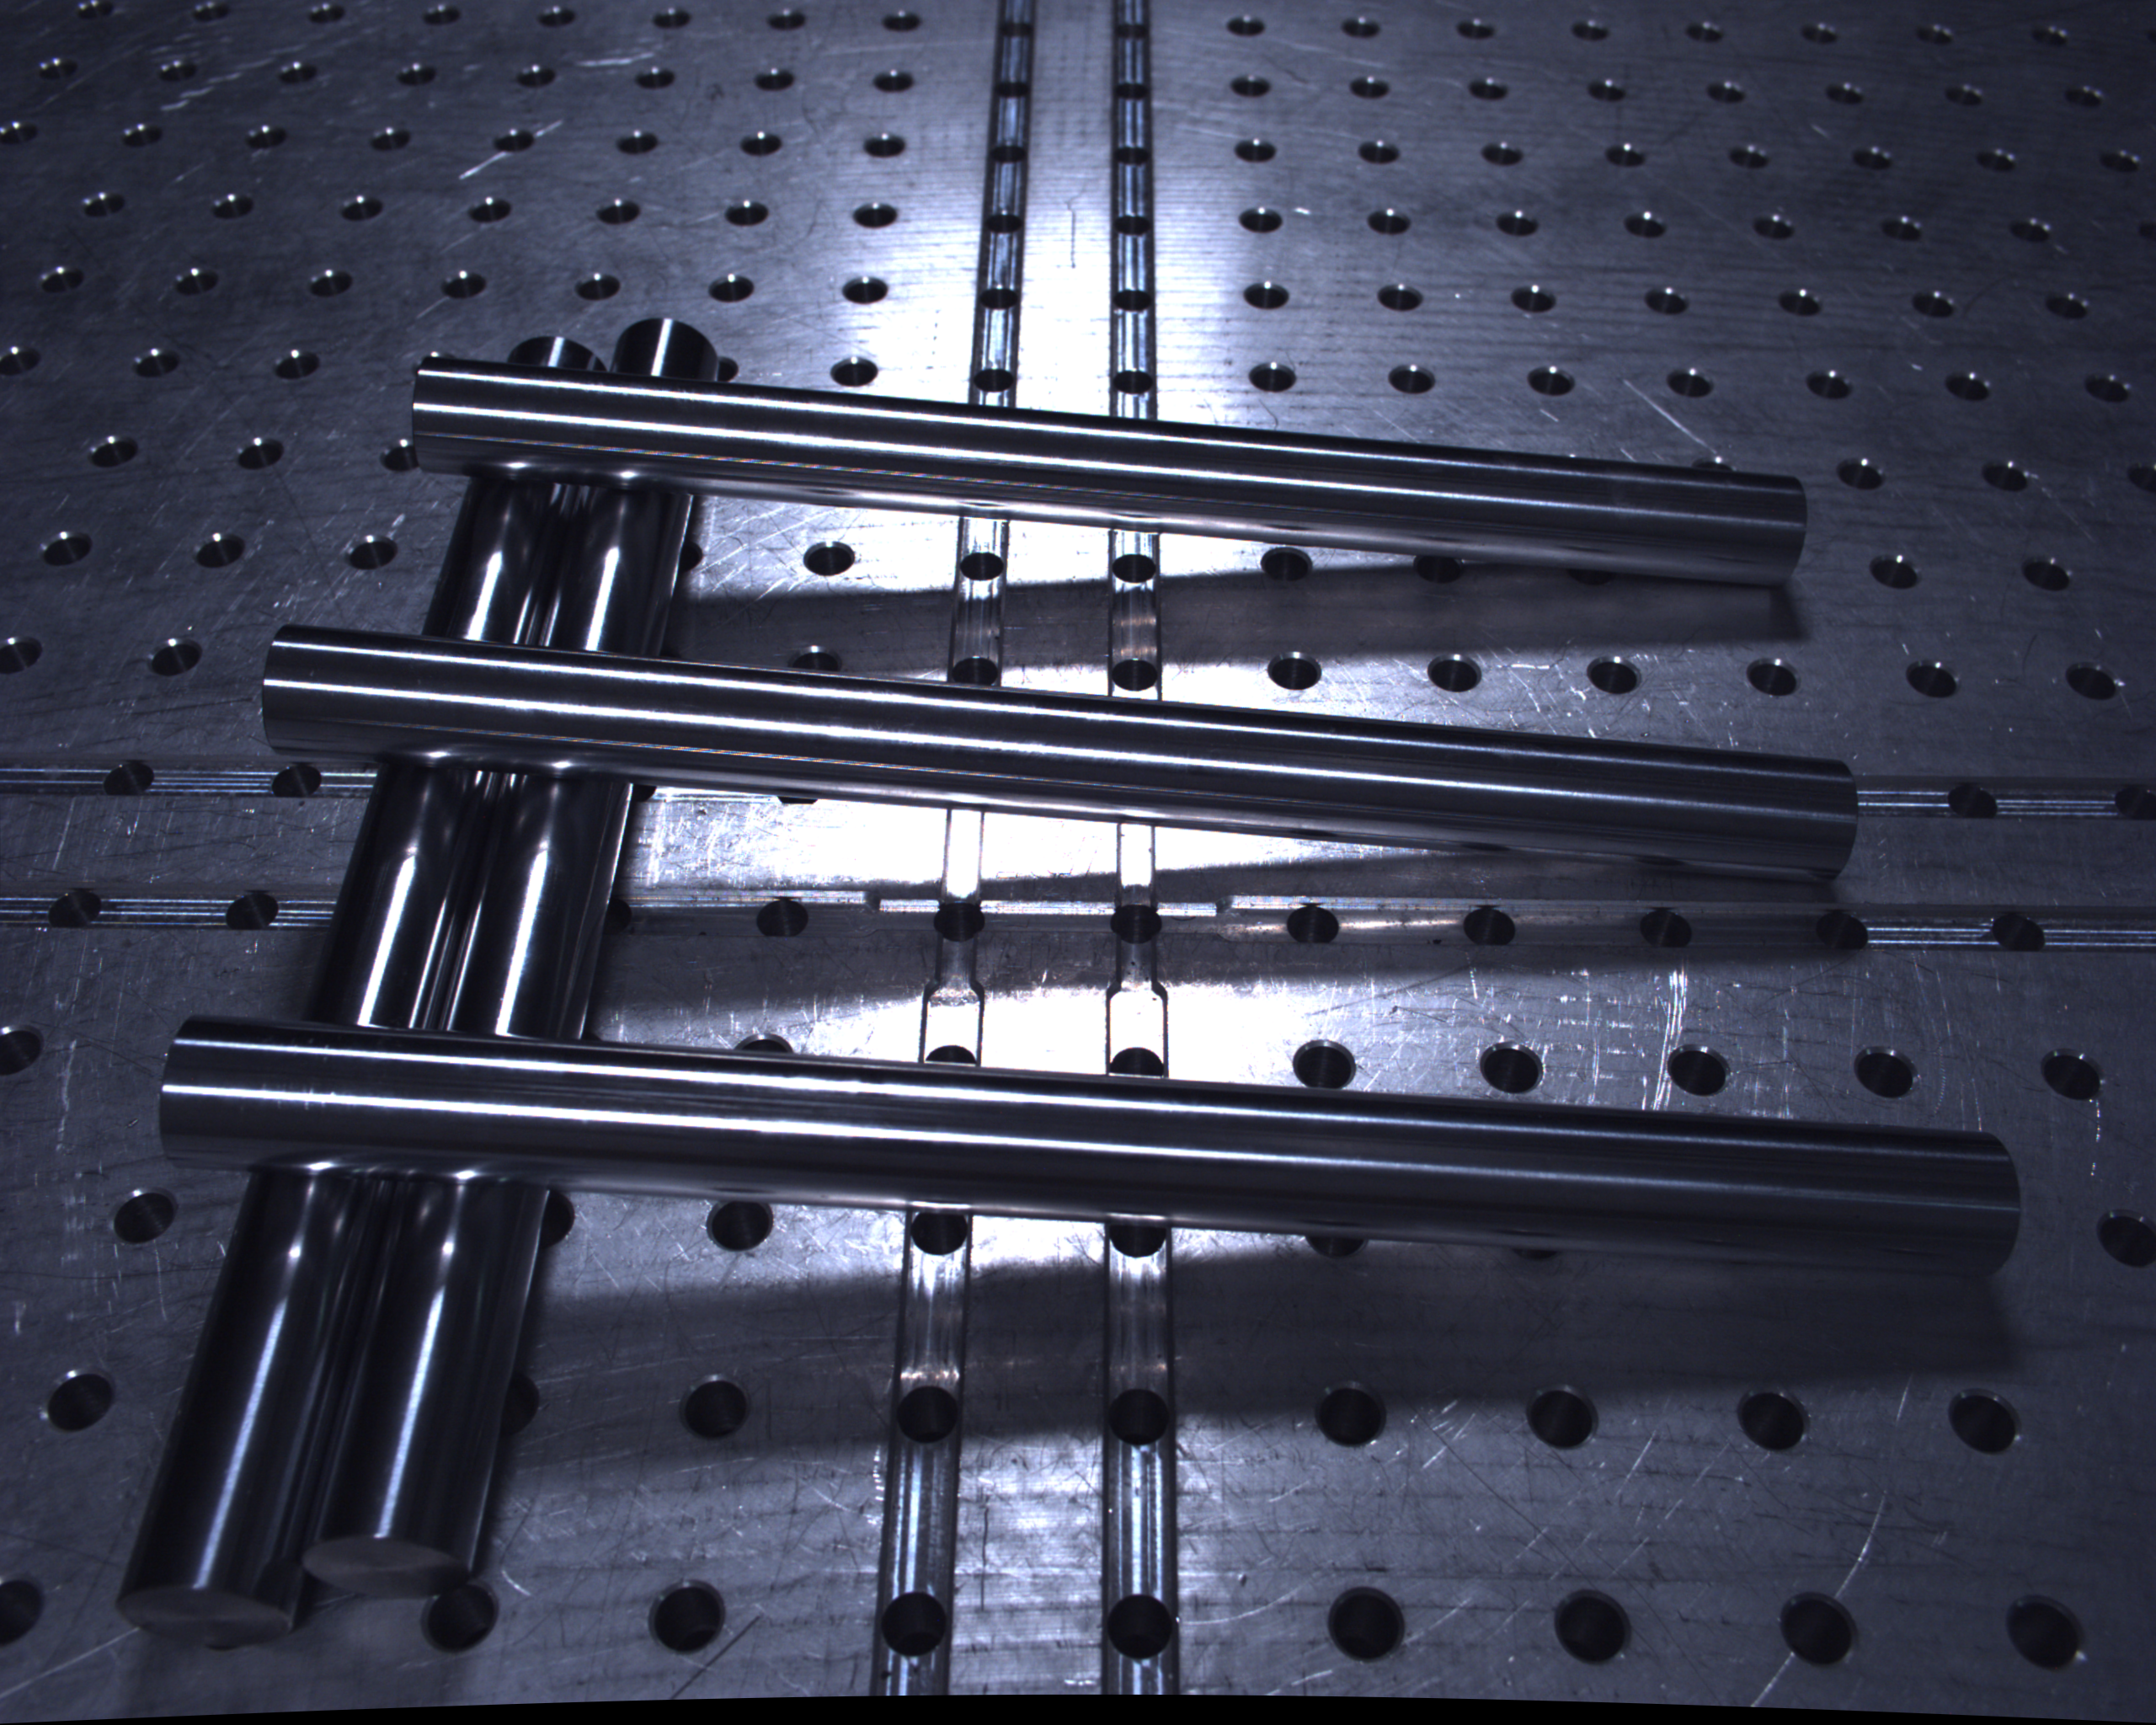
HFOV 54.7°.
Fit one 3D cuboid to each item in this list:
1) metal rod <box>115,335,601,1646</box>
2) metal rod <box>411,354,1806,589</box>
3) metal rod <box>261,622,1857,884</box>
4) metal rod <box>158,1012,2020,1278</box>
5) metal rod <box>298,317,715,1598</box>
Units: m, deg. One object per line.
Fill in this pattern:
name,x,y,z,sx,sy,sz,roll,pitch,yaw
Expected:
metal rod,-0.128,-0.002,0.407,0.025,0.025,0.300,1,50,0
metal rod,0.010,-0.086,0.461,0.302,0.025,0.025,4,50,-5
metal rod,0.000,-0.021,0.405,0.302,0.025,0.025,5,50,-4
metal rod,0.007,0.048,0.349,0.302,0.025,0.025,4,50,-5
metal rod,-0.103,-0.008,0.412,0.025,0.025,0.300,1,50,0
